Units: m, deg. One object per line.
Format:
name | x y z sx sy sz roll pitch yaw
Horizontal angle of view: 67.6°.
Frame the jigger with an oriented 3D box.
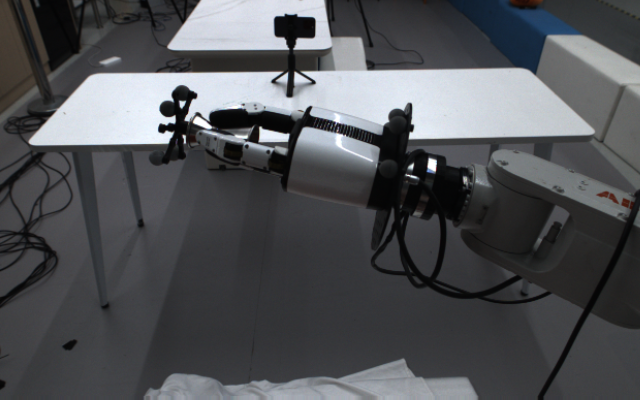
jigger | -0.098 -0.069 0.525 0.071 0.043 0.043 14 36 5
